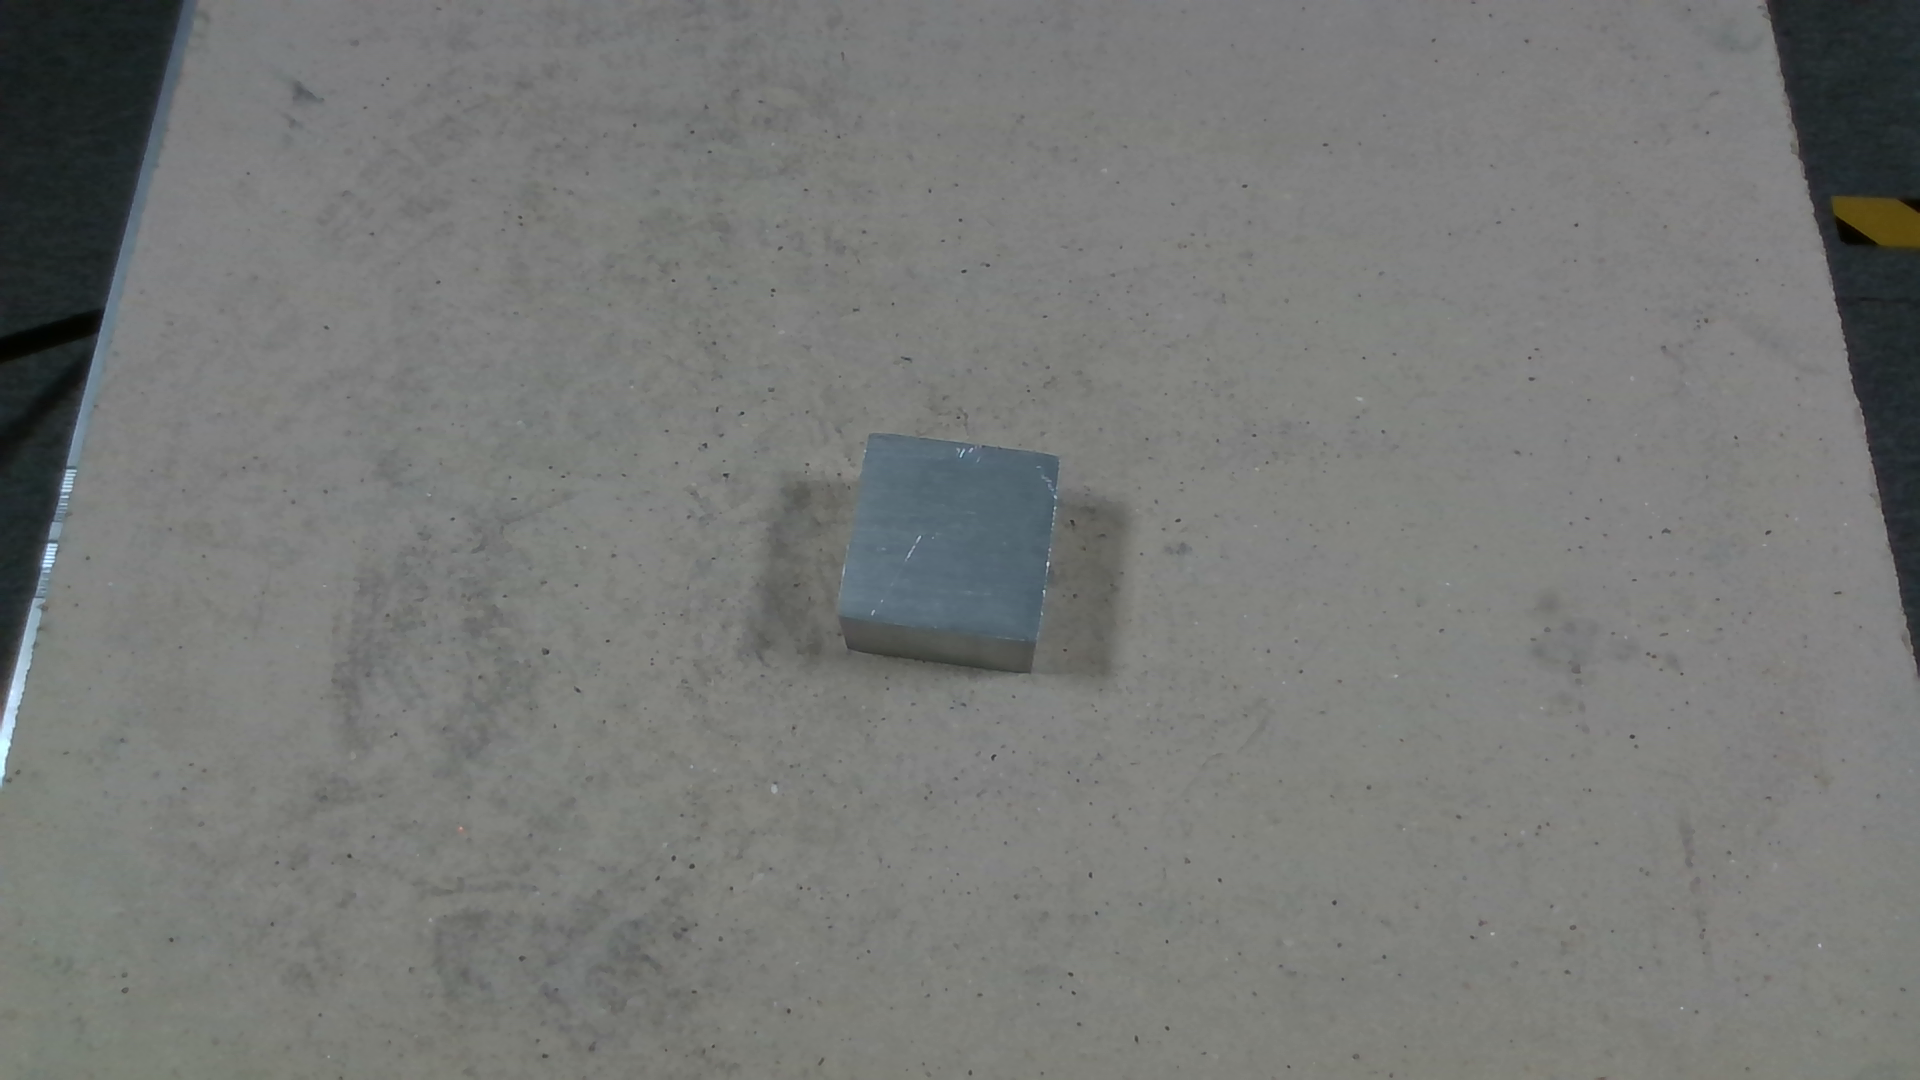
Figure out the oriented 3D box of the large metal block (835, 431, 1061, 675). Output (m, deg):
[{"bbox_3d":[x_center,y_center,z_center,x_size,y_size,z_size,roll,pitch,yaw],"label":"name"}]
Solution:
[{"bbox_3d":[-0.004,0.006,0.573,0.080,0.050,0.080,7,70,3],"label":"large metal block"}]
